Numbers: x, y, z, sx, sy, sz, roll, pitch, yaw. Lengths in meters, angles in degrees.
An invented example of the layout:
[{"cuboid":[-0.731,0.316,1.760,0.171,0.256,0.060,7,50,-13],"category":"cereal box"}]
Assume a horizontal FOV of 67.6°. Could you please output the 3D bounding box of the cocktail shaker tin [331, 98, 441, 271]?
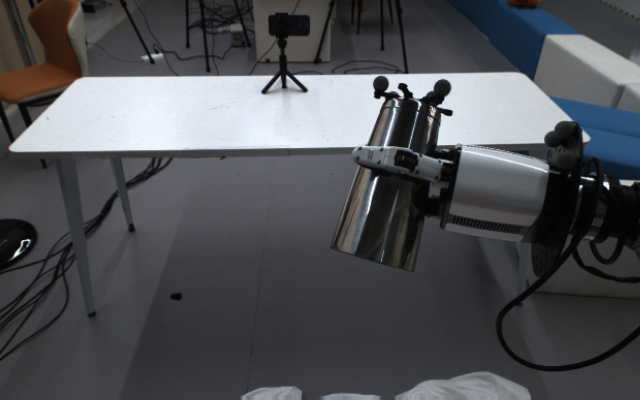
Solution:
[{"cuboid":[0.077,-0.018,0.520,0.093,0.170,0.093,16,-6,2],"category":"cocktail shaker tin"}]
